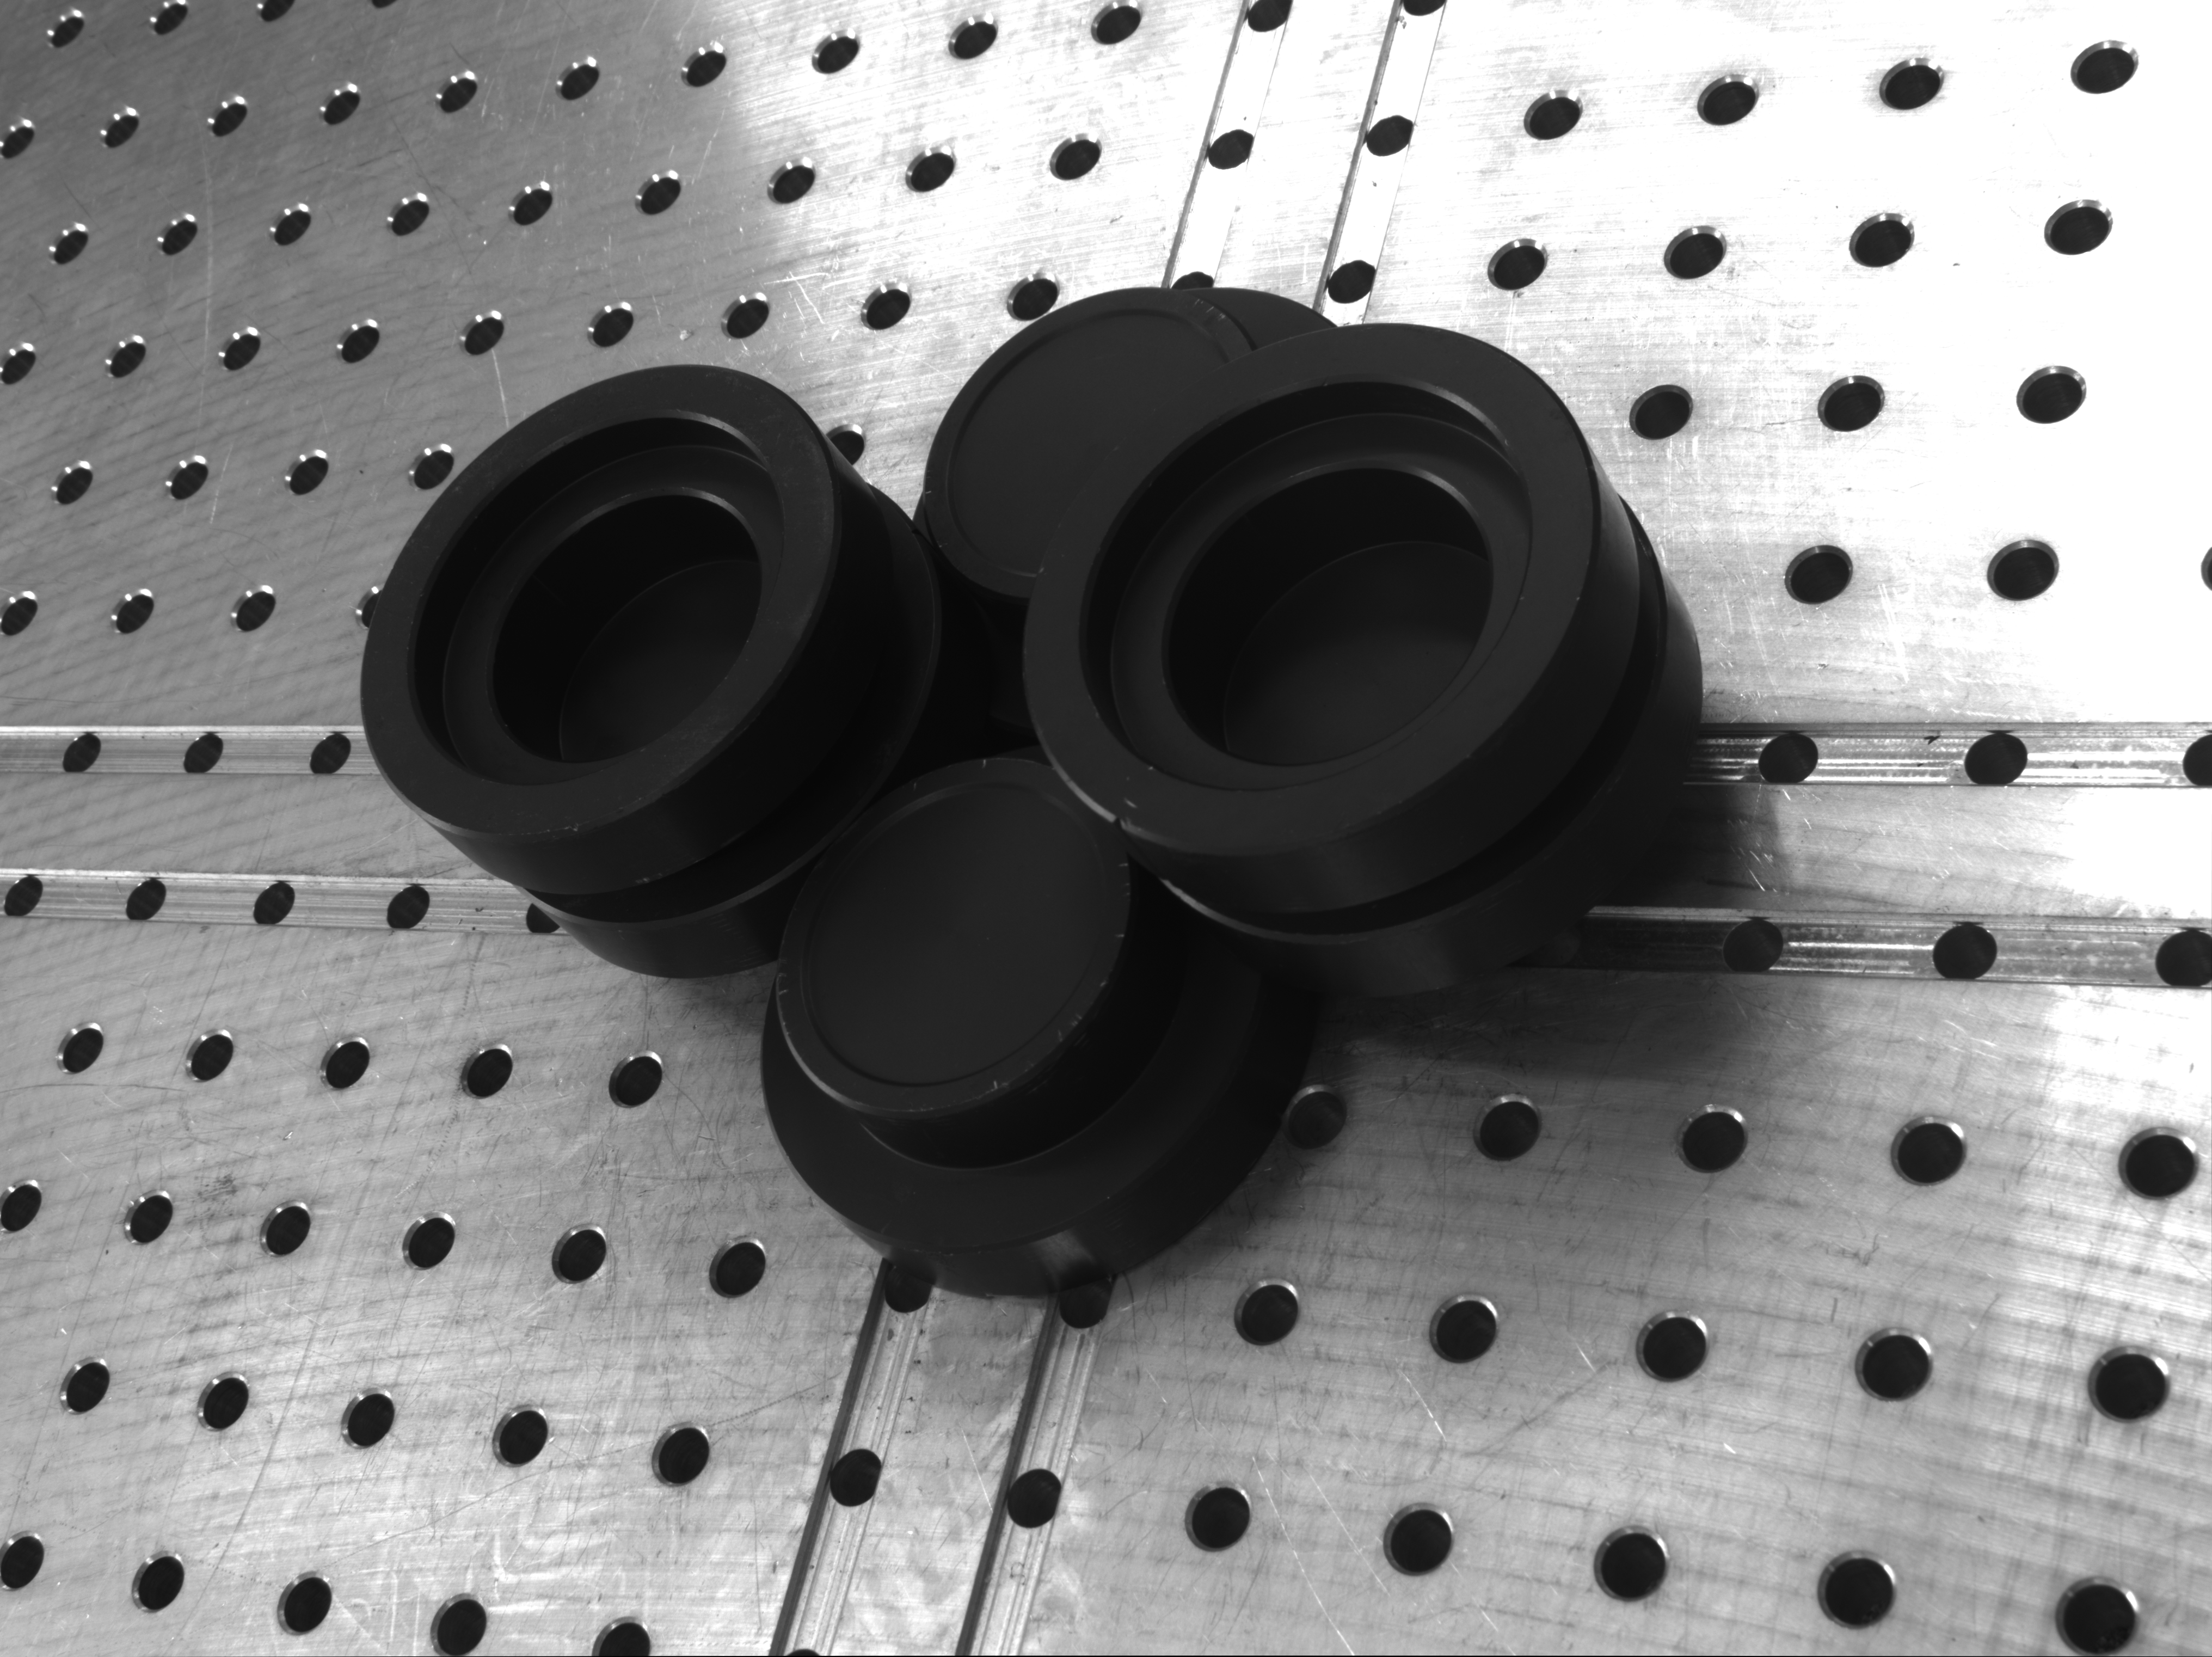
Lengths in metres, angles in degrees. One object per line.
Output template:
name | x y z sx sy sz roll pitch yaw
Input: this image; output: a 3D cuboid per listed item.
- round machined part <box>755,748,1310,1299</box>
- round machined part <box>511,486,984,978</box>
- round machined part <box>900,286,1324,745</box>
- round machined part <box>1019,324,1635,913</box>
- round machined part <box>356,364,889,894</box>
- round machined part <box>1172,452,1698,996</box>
round machined part | -0.018 0.027 0.630 0.098 0.042 0.098 -14 56 21
round machined part | -0.066 -0.016 0.682 0.098 0.042 0.098 -14 56 21
round machined part | 0.005 -0.059 0.671 0.098 0.042 0.098 -14 56 21
round machined part | 0.039 -0.029 0.593 0.098 0.042 0.098 -14 56 21
round machined part | -0.082 -0.031 0.659 0.098 0.042 0.098 -14 56 21
round machined part | 0.053 -0.015 0.618 0.098 0.042 0.098 -14 56 21
